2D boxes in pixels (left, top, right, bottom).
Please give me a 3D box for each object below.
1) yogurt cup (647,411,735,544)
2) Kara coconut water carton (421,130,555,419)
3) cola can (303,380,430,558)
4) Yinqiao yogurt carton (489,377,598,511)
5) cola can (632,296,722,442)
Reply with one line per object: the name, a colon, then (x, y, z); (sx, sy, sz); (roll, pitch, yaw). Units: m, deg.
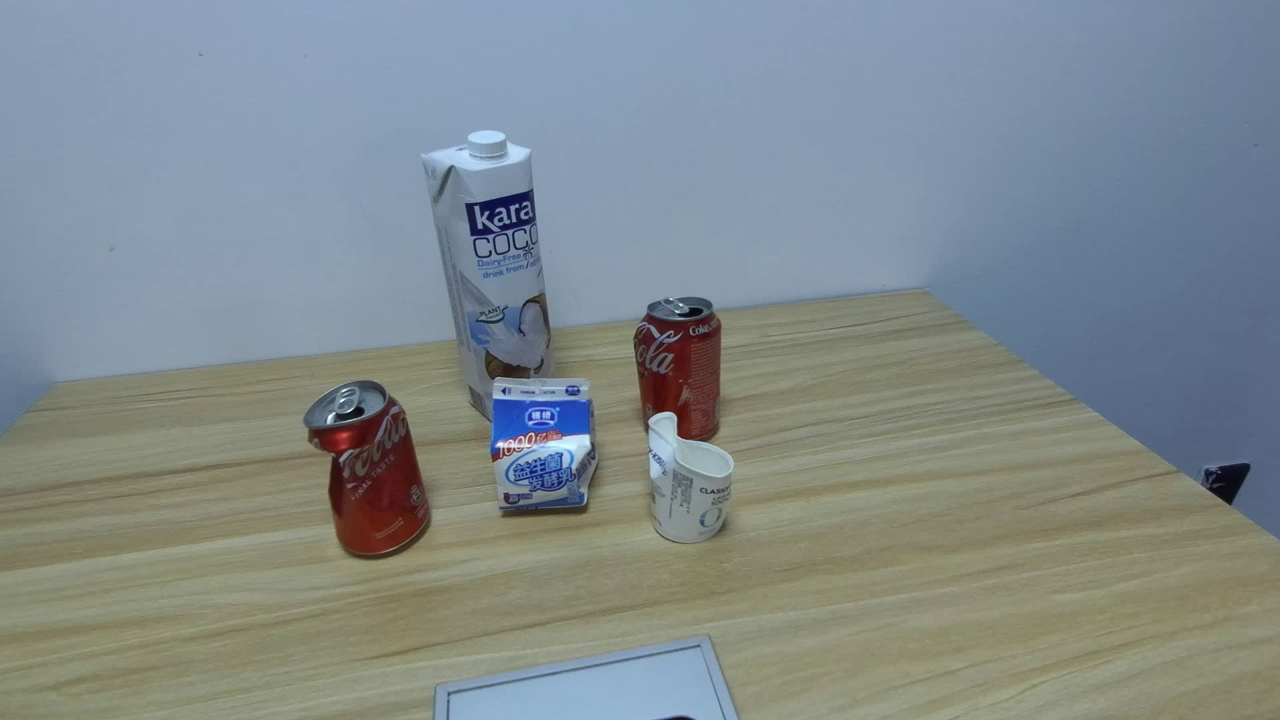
yogurt cup: (0.034, 0.084, 0.494); (0.075, 0.071, 0.054); (16, 33, 29)
Kara coconut water carton: (-0.123, -0.067, 0.604); (0.077, 0.245, 0.075); (-21, 31, -31)
cola can: (-0.188, 0.075, 0.490); (0.065, 0.112, 0.069); (12, 32, 28)
Yinqiao yogurt carton: (-0.070, 0.057, 0.528); (0.074, 0.097, 0.080); (-3, 22, -2)
cola can: (0.033, 0.009, 0.587); (0.072, 0.117, 0.065); (-7, 29, -9)
